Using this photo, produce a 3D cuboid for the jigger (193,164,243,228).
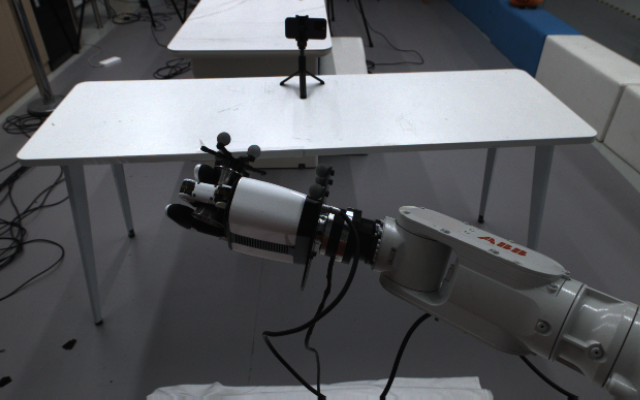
[{"bbox_3d":[-0.126,-0.006,0.605,0.043,0.043,0.071,15,70,18],"label":"jigger"}]
